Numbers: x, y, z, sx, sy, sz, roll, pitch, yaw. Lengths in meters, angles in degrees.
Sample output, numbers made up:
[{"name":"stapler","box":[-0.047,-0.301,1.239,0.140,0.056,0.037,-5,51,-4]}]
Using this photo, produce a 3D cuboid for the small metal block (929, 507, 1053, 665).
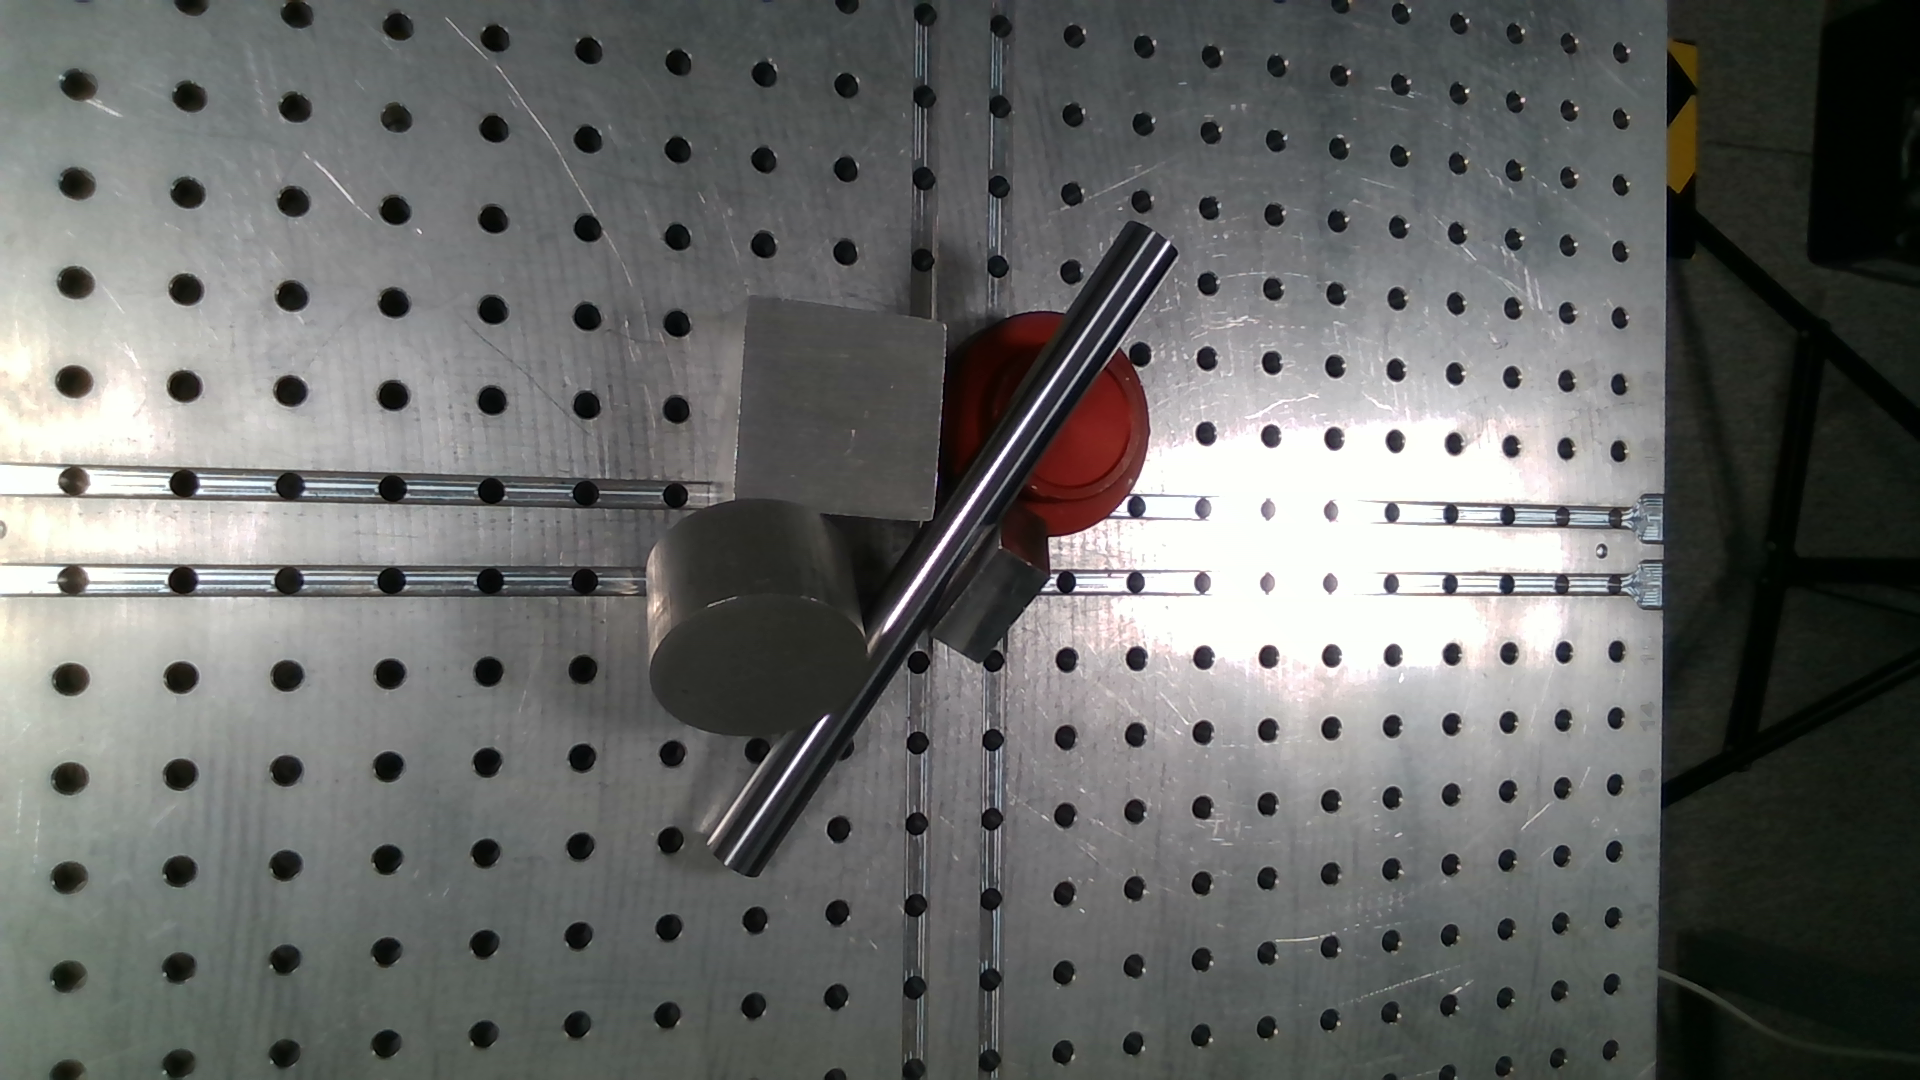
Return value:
[{"name":"small metal block","box":[0.012,0.015,0.569,0.025,0.050,0.050,31,114,-15]}]

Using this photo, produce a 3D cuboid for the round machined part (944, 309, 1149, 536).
[{"name":"round machined part","box":[0.039,-0.051,0.593,0.098,0.042,0.098,0,90,-20]}]

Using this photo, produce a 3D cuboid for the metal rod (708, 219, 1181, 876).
[{"name":"metal rod","box":[-0.007,0.004,0.551,0.025,0.025,0.300,34,92,-17]}]

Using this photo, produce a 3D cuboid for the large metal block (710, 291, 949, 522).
[{"name":"large metal block","box":[-0.053,-0.050,0.553,0.080,0.050,0.080,5,88,-20]}]

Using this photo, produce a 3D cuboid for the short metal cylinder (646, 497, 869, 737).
[{"name":"short metal cylinder","box":[-0.078,0.030,0.524,0.080,0.050,0.080,-8,136,-8]}]
